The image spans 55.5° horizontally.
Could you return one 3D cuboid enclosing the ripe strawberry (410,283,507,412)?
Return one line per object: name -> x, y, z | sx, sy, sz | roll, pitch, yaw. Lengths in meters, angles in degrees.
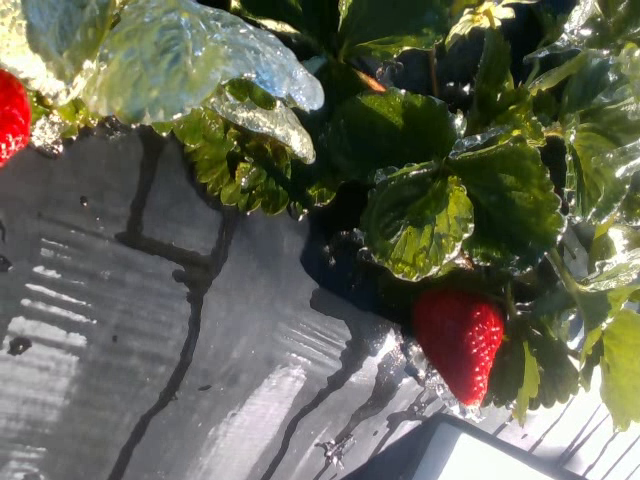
ripe strawberry -> 0.060, 0.046, 0.251 | 0.042, 0.052, 0.047 | 25, -41, -28
